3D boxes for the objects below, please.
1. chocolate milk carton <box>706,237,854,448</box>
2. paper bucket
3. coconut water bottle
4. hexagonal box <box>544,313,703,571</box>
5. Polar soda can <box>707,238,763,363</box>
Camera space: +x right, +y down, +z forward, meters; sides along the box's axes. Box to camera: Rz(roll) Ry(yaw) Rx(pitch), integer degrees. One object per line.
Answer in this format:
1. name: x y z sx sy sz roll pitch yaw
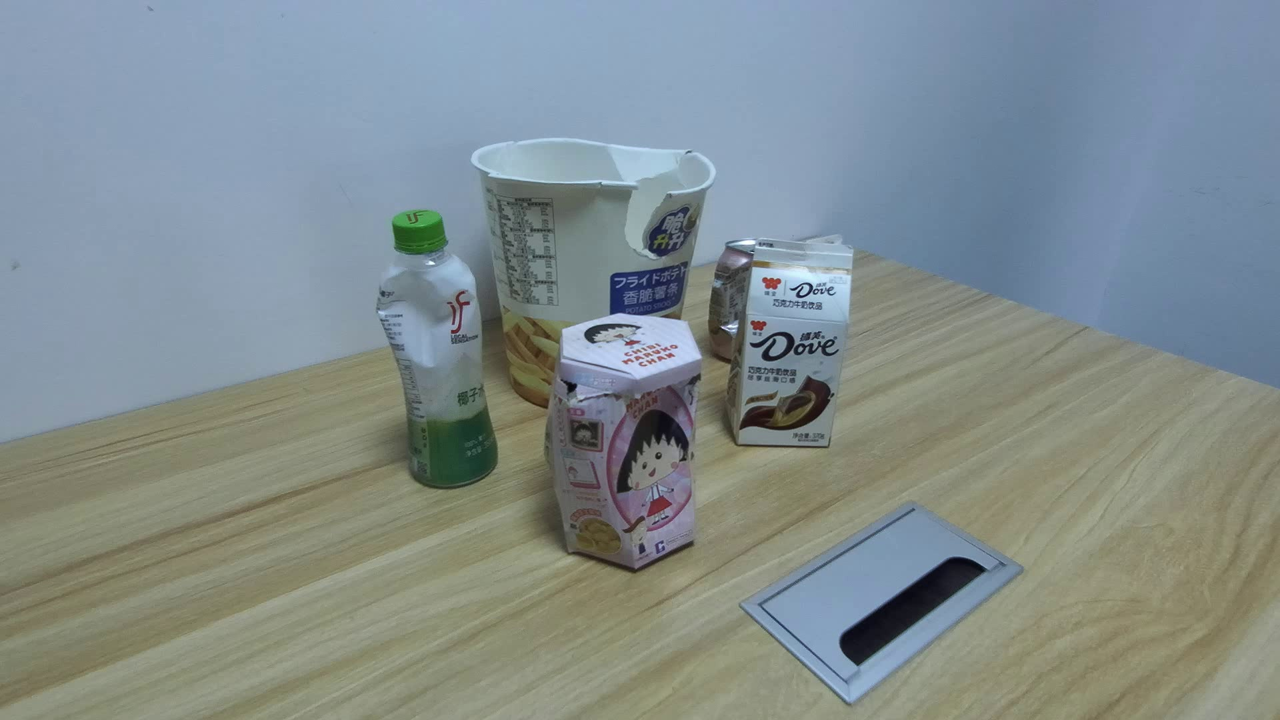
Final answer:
1. chocolate milk carton: 0.109 -0.017 0.535 0.084 0.155 0.073 0 28 1
2. paper bucket: -0.041 -0.074 0.596 0.202 0.197 0.146 8 30 15
3. coconut water bottle: -0.137 -0.007 0.481 0.069 0.187 0.069 1 27 0
4. hexagonal box: -0.009 0.048 0.436 0.091 0.134 0.090 2 25 4
5. Polar soda can: 0.109 -0.060 0.710 0.070 0.114 0.074 10 31 6
